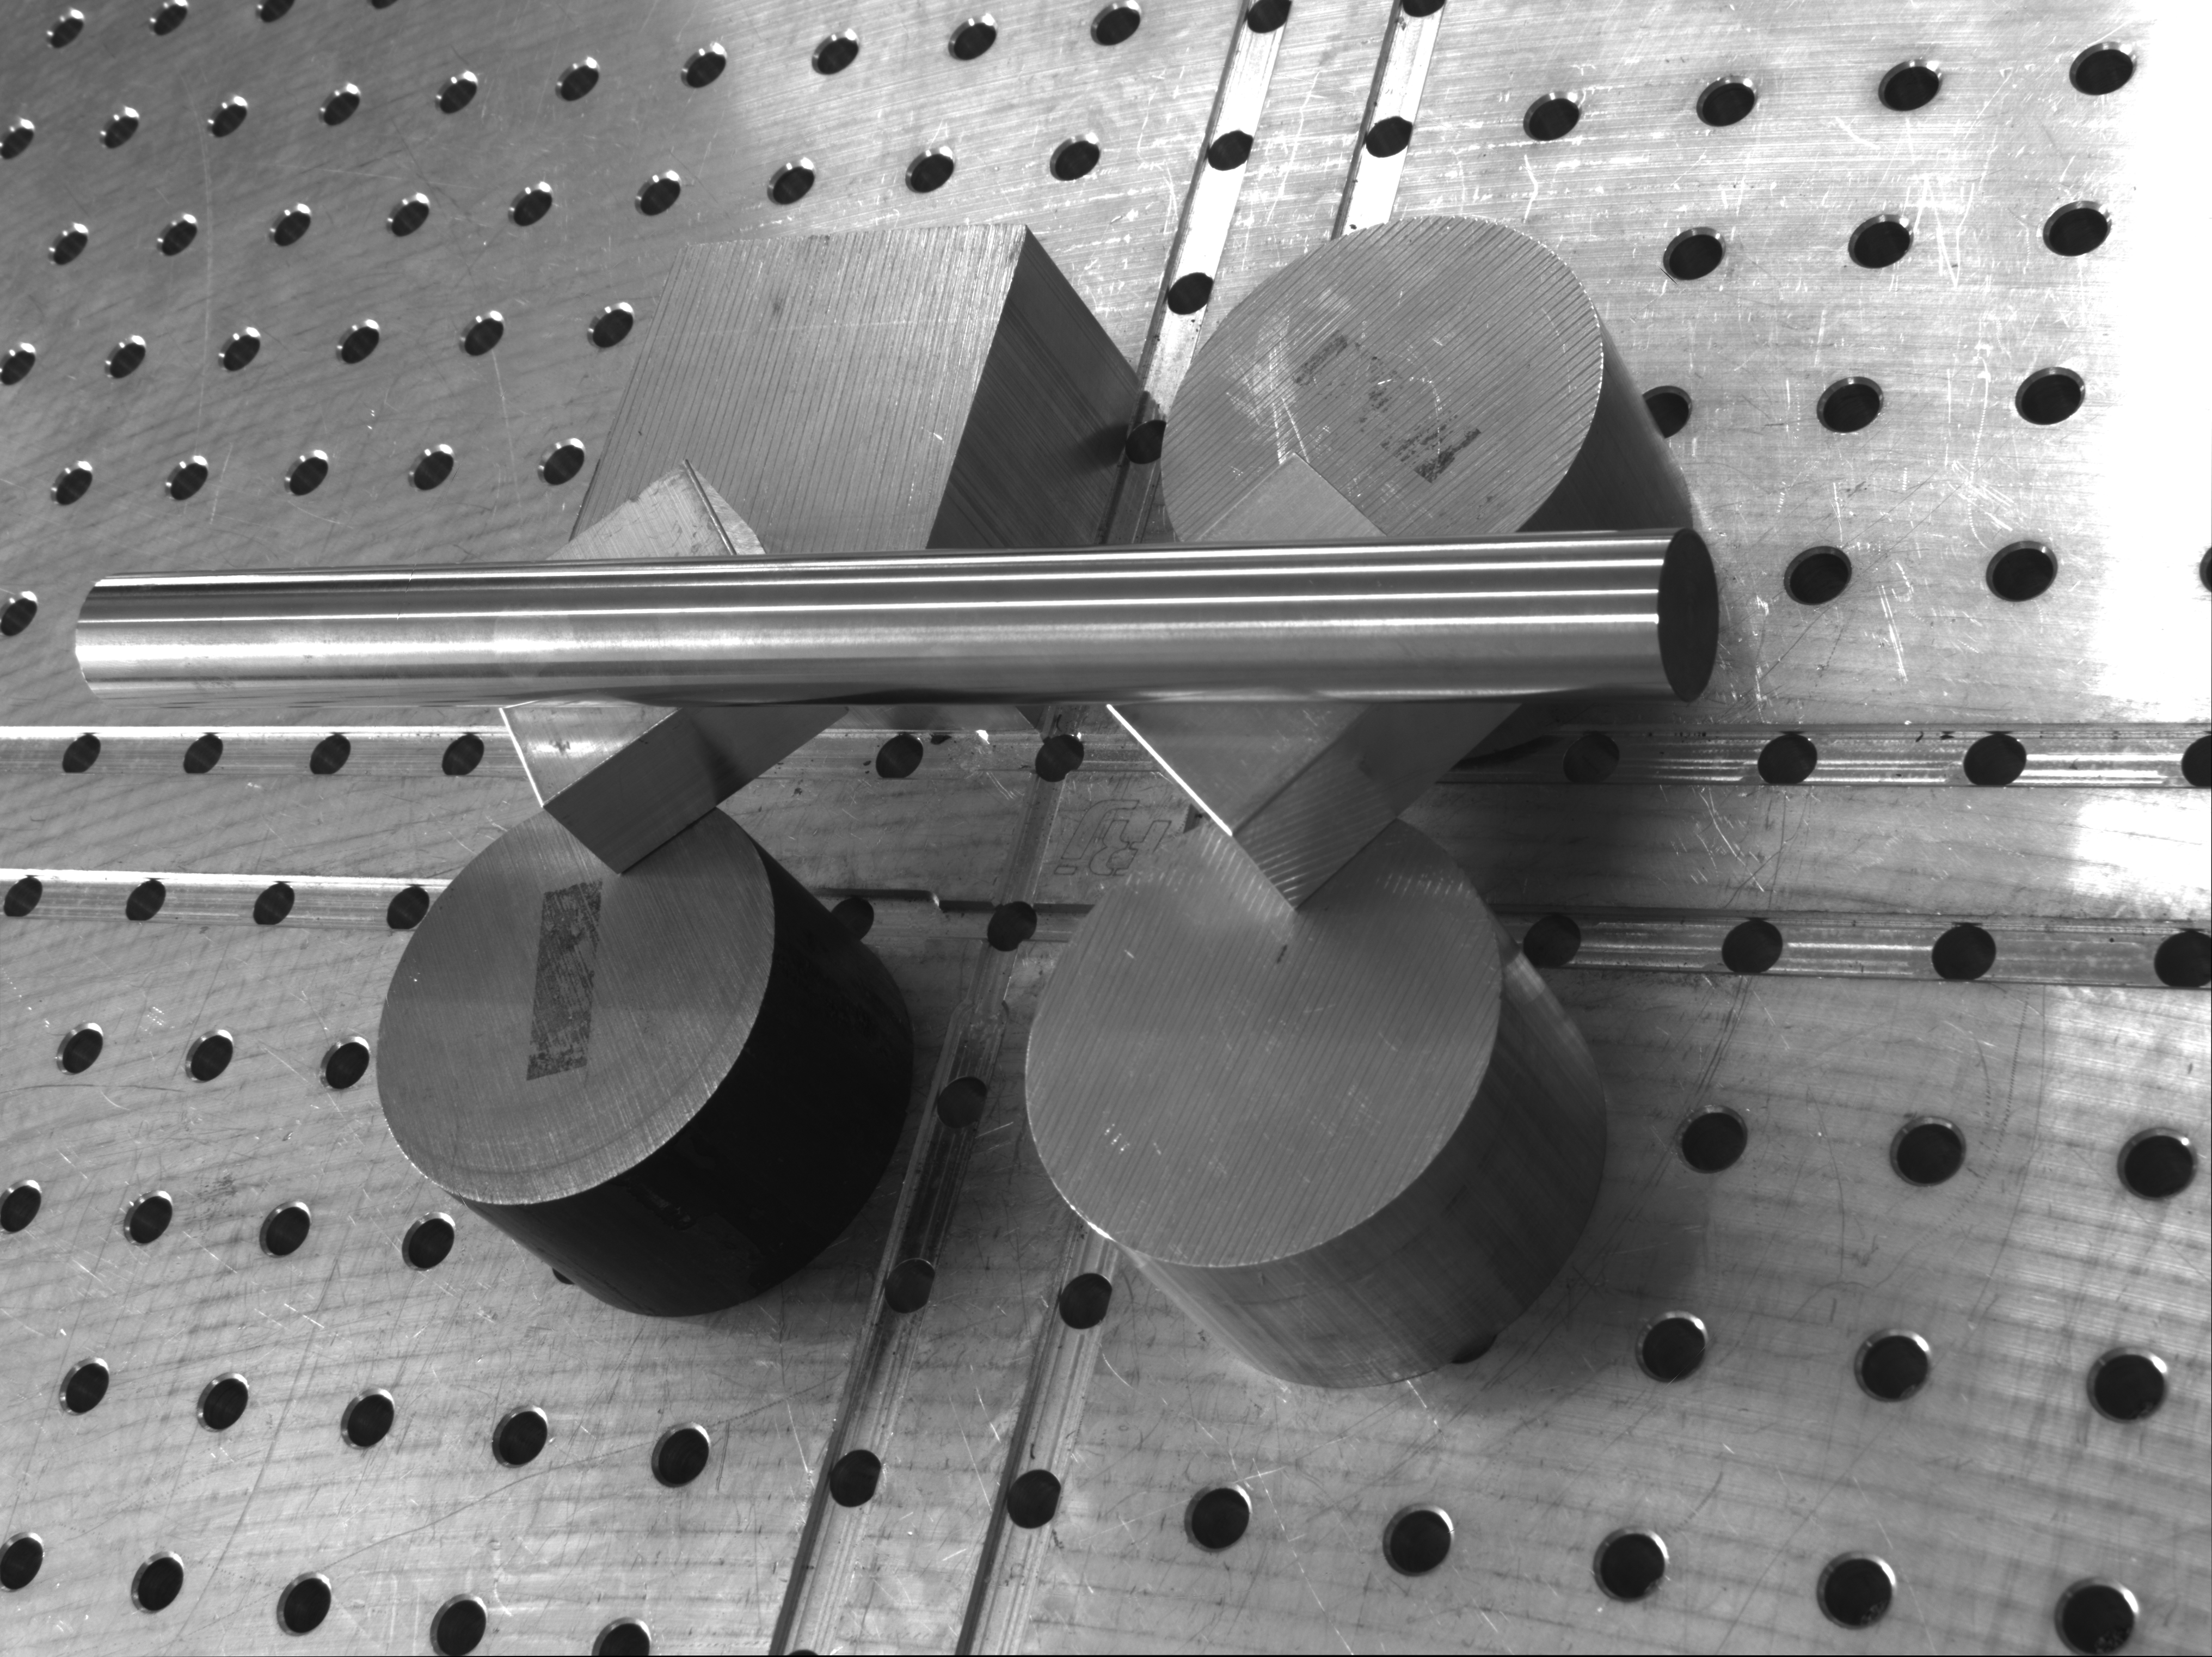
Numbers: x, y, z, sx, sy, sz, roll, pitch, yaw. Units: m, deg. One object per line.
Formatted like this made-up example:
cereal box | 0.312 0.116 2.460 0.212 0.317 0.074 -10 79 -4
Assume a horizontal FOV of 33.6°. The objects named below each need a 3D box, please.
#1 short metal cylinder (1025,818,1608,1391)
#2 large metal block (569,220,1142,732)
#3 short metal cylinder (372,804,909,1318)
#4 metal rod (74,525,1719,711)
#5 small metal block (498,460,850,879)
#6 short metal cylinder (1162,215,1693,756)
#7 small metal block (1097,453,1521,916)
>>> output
short metal cylinder | 0.034 0.043 0.587 0.080 0.050 0.080 -14 56 21
large metal block | -0.048 -0.066 0.698 0.080 0.050 0.080 1 62 29
short metal cylinder | -0.082 0.040 0.650 0.080 0.050 0.080 -14 56 21
metal rod | -0.048 -0.032 0.596 0.299 0.025 0.025 1 62 29
small metal block | -0.080 -0.028 0.644 0.050 0.025 0.050 -35 51 5
short metal cylinder | 0.056 -0.059 0.638 0.080 0.050 0.080 -14 56 21
small metal block | 0.030 -0.023 0.582 0.050 0.025 0.050 -42 51 -1
